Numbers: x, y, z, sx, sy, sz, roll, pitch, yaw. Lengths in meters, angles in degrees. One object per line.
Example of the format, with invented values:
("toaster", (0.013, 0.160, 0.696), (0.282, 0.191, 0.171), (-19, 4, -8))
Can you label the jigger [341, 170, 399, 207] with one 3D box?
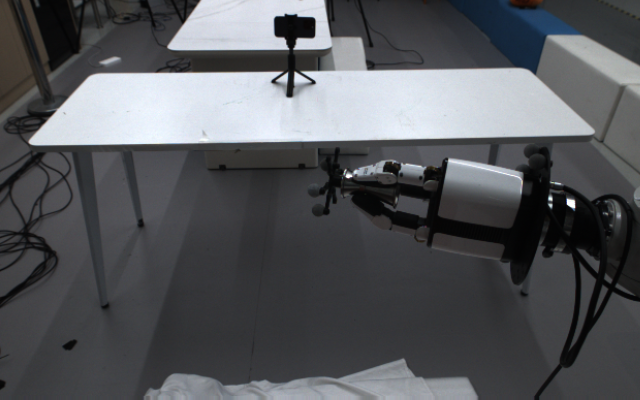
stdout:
("jigger", (0.070, -0.021, 0.600), (0.071, 0.043, 0.043), (9, 35, 16))
